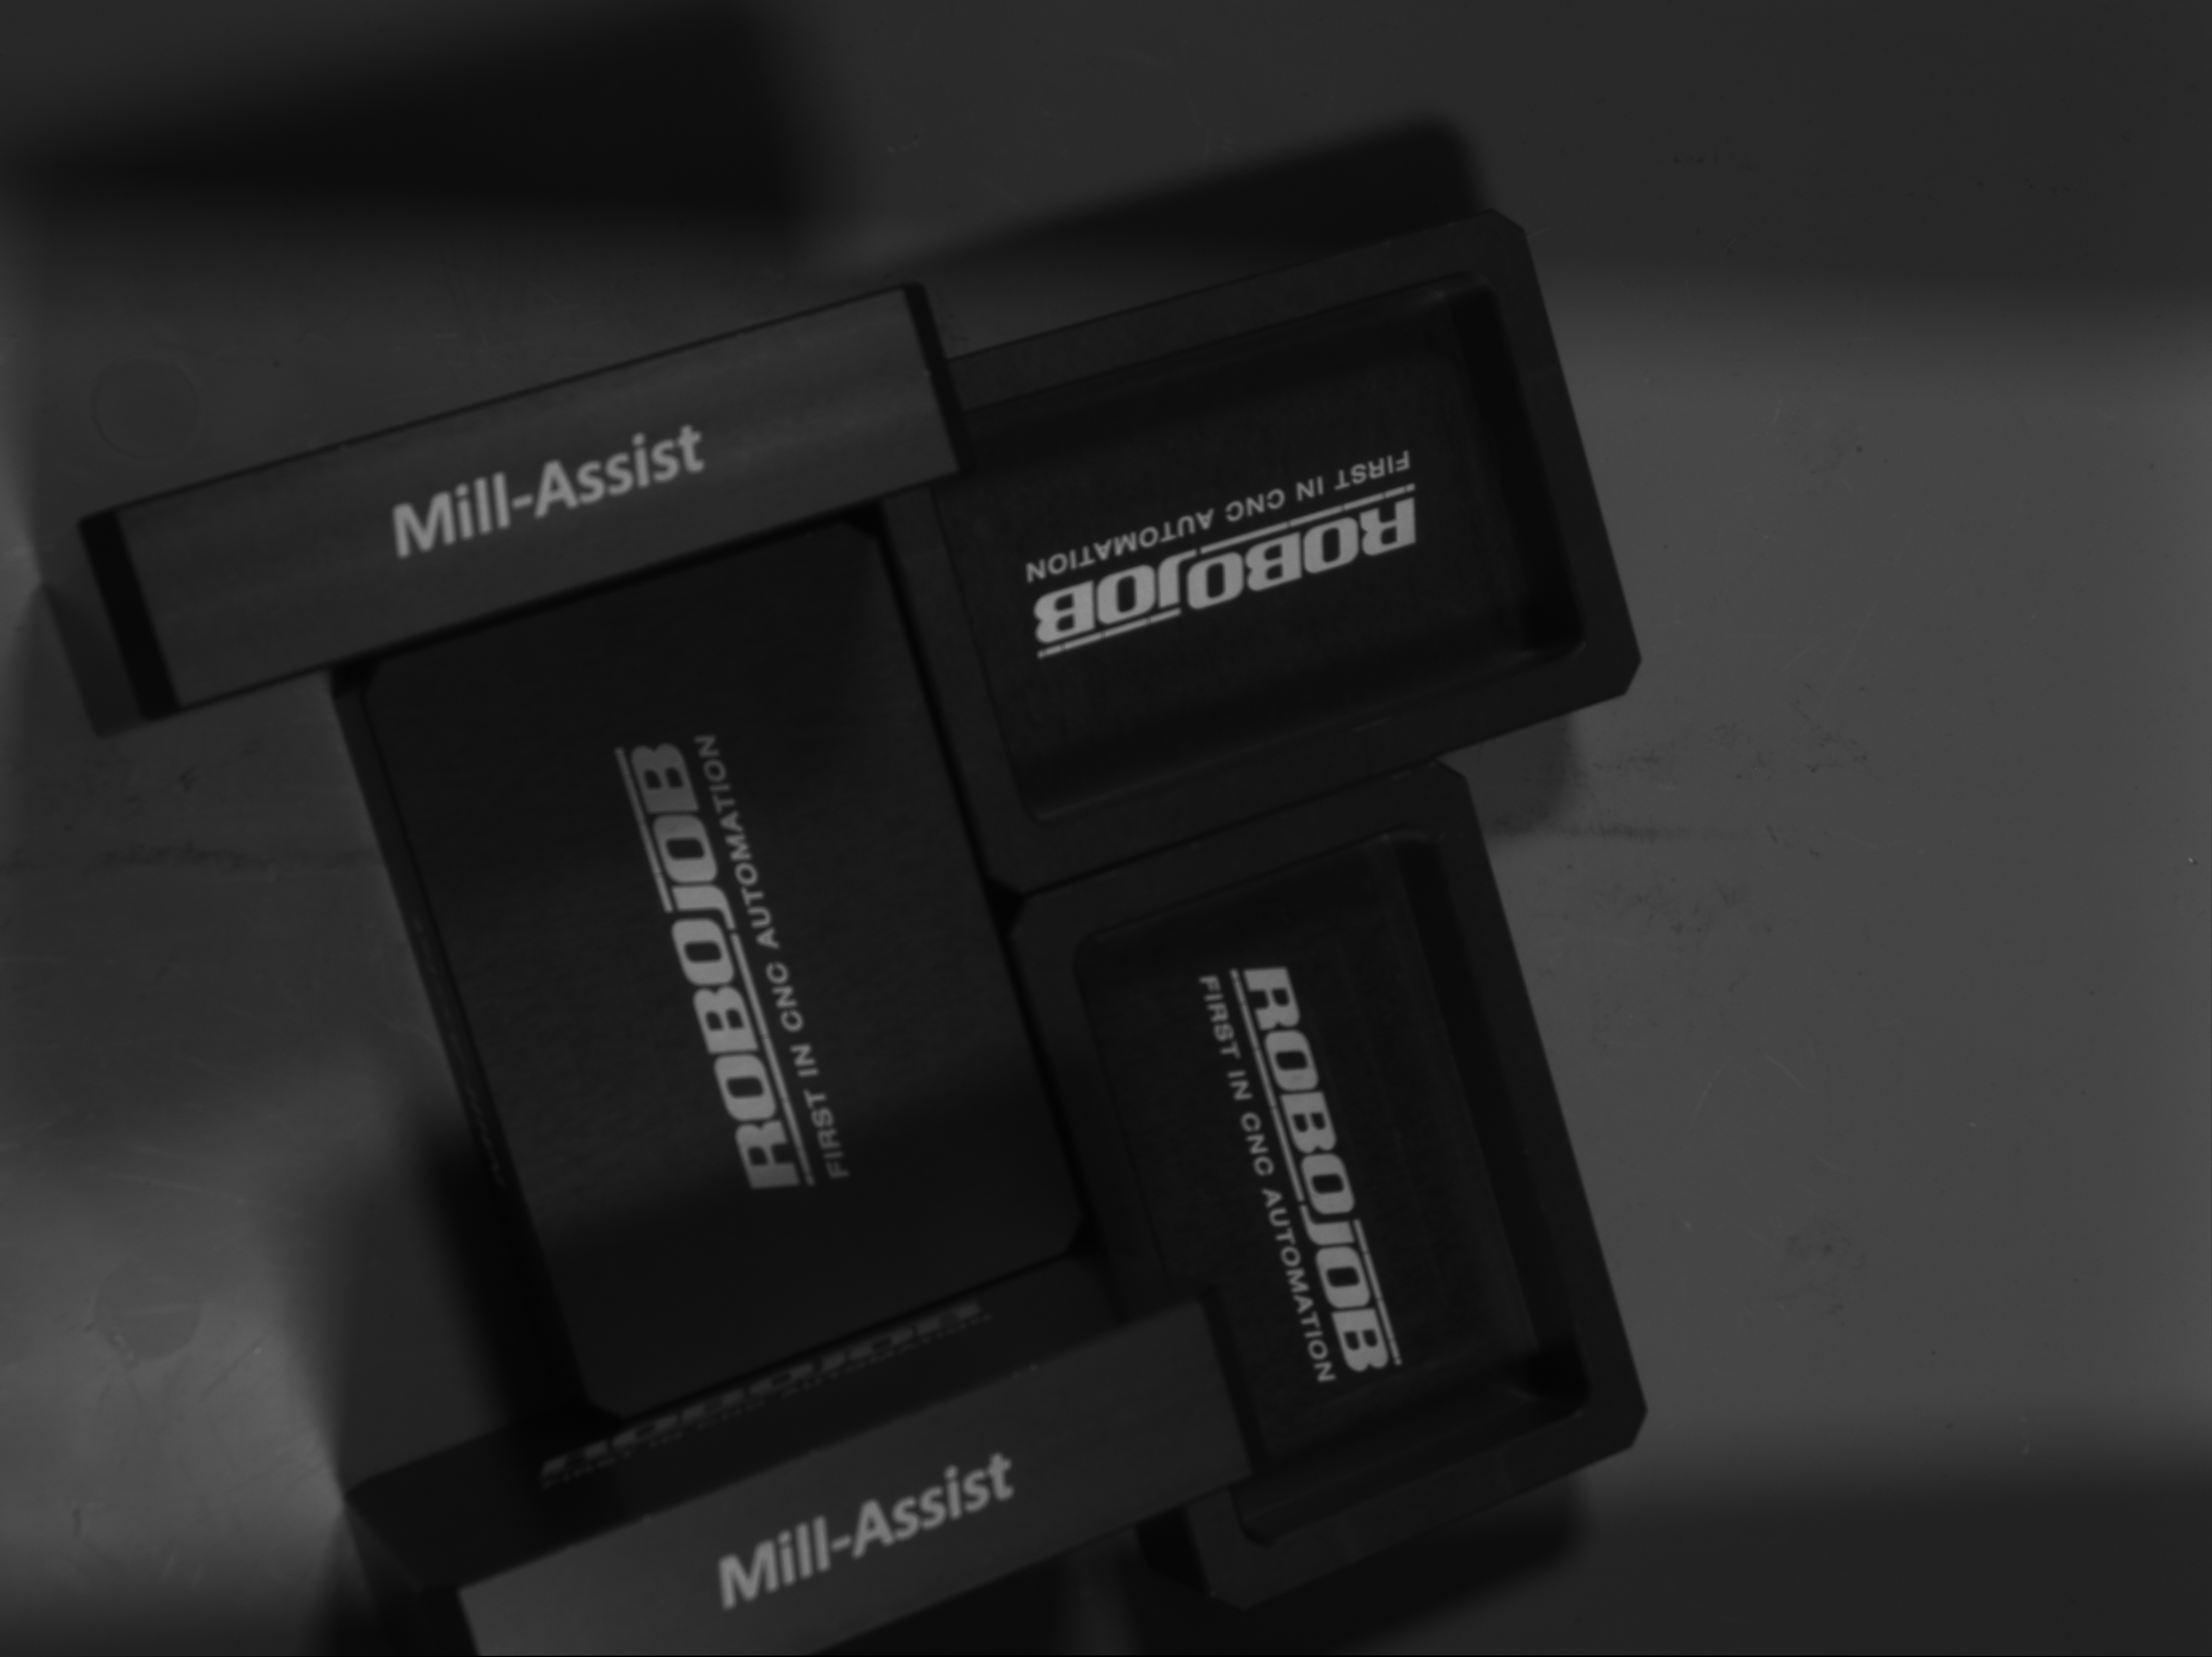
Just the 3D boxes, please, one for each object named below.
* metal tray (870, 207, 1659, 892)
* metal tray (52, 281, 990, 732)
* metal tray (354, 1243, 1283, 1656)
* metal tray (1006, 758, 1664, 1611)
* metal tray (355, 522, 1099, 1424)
[{"bbox_3d":[0.025,-0.050,0.649,0.130,0.030,0.090,-18,96,-19],"label":"metal tray"},{"bbox_3d":[-0.093,-0.049,0.572,0.130,0.090,0.030,-19,96,-19],"label":"metal tray"},{"bbox_3d":[-0.048,0.105,0.589,0.130,0.090,0.030,-18,96,-19],"label":"metal tray"},{"bbox_3d":[0.039,0.062,0.653,0.090,0.030,0.130,-18,96,-19],"label":"metal tray"},{"bbox_3d":[-0.063,0.023,0.615,0.090,0.030,0.130,-18,96,-19],"label":"metal tray"}]
